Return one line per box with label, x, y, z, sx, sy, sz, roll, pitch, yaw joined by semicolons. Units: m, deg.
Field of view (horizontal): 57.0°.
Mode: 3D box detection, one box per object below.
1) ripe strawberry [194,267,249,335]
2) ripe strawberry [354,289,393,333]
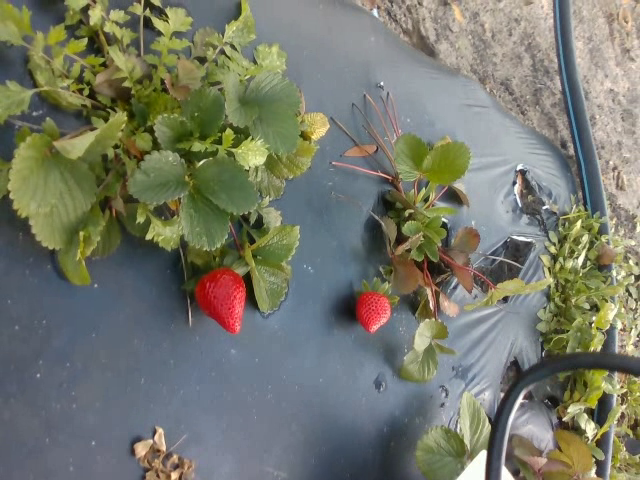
ripe strawberry;-0.069;0.047;0.418;0.046;0.050;0.051;-29;-46;2
ripe strawberry;0.047;0.069;0.522;0.041;0.045;0.052;4;36;11
